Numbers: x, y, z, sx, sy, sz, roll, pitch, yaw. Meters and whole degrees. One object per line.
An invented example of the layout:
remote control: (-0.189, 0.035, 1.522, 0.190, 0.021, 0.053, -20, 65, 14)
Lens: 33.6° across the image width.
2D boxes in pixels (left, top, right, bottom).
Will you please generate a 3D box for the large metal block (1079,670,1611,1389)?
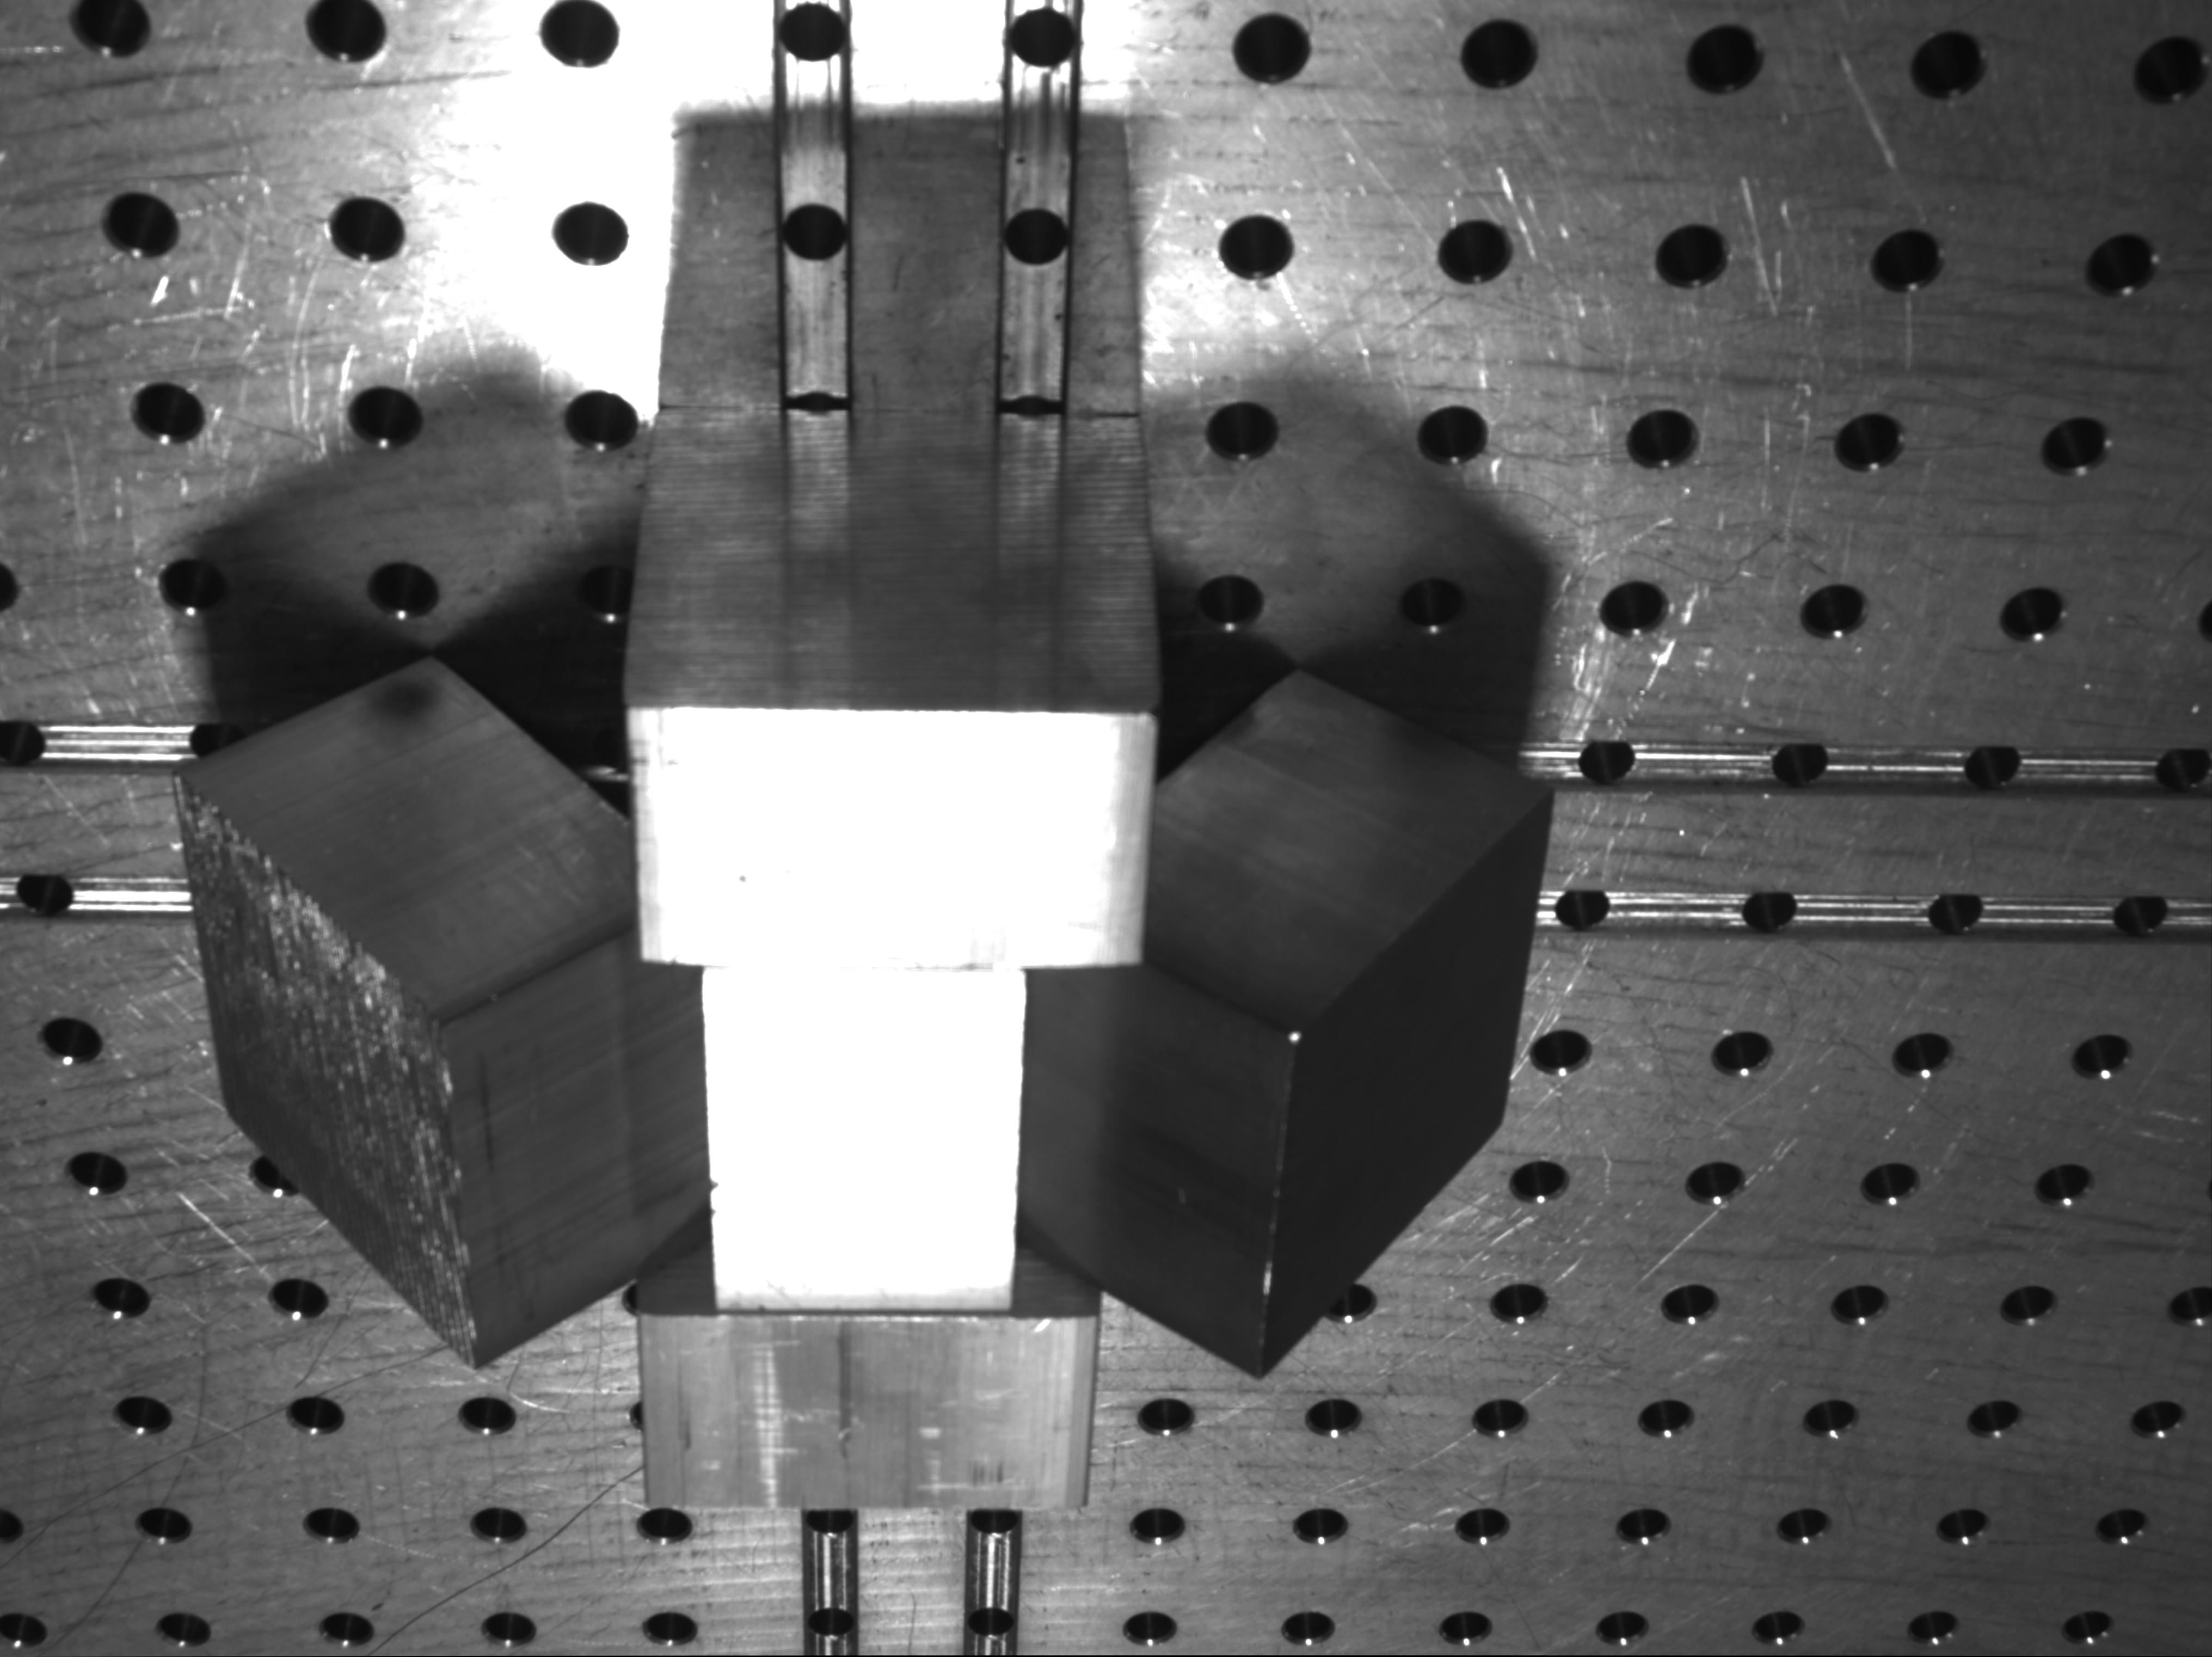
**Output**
large metal block: (0.039, 0.033, 0.623, 0.050, 0.080, 0.080, 26, 135, 26)

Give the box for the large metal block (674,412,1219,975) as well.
large metal block: (-0.025, -0.023, 0.584, 0.080, 0.080, 0.050, 1, 130, -2)

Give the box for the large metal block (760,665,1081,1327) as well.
large metal block: (-0.031, 0.028, 0.627, 0.050, 0.080, 0.080, 1, 130, -2)

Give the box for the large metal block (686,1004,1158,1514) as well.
large metal block: (-0.033, 0.077, 0.668, 0.080, 0.080, 0.050, 1, 130, -2)

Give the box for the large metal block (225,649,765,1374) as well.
large metal block: (-0.101, 0.030, 0.619, 0.050, 0.080, 0.080, -28, 139, -31)
